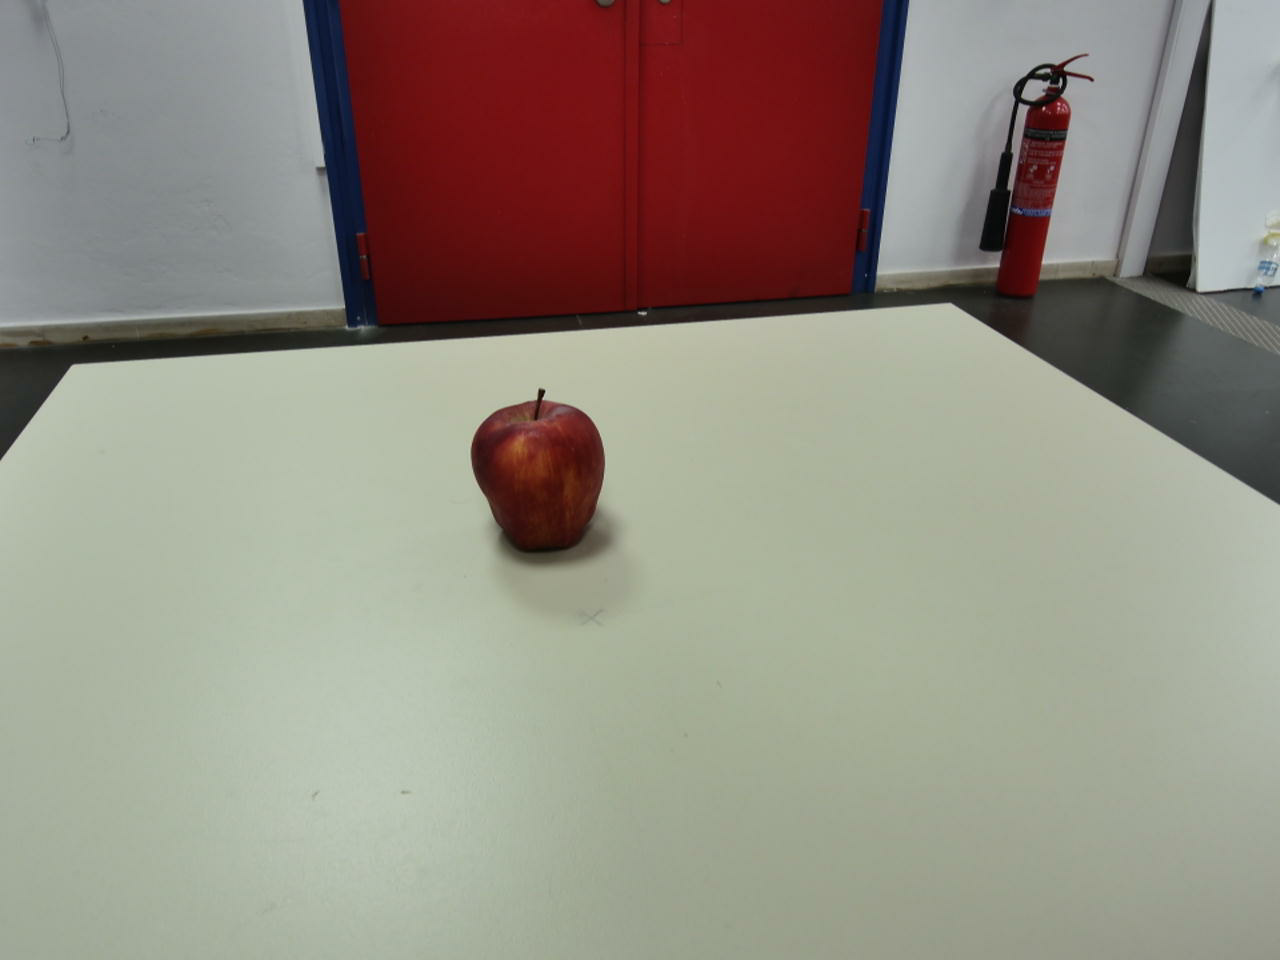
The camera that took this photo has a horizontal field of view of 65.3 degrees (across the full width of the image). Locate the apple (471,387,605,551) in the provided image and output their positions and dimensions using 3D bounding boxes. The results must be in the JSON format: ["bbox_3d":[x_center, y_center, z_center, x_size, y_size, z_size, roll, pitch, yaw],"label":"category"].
[{"bbox_3d":[-0.059,-0.009,0.574,0.083,0.090,0.083,0,26,0],"label":"apple"}]
